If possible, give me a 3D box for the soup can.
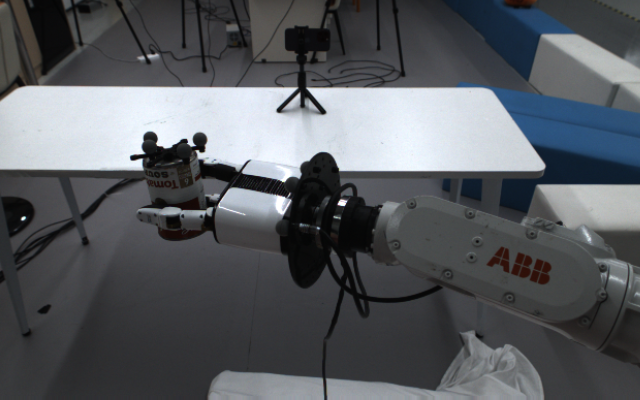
[{"bbox_3d":[-0.180,-0.007,0.616,0.067,0.101,0.067,-4,26,2],"label":"soup can"}]
